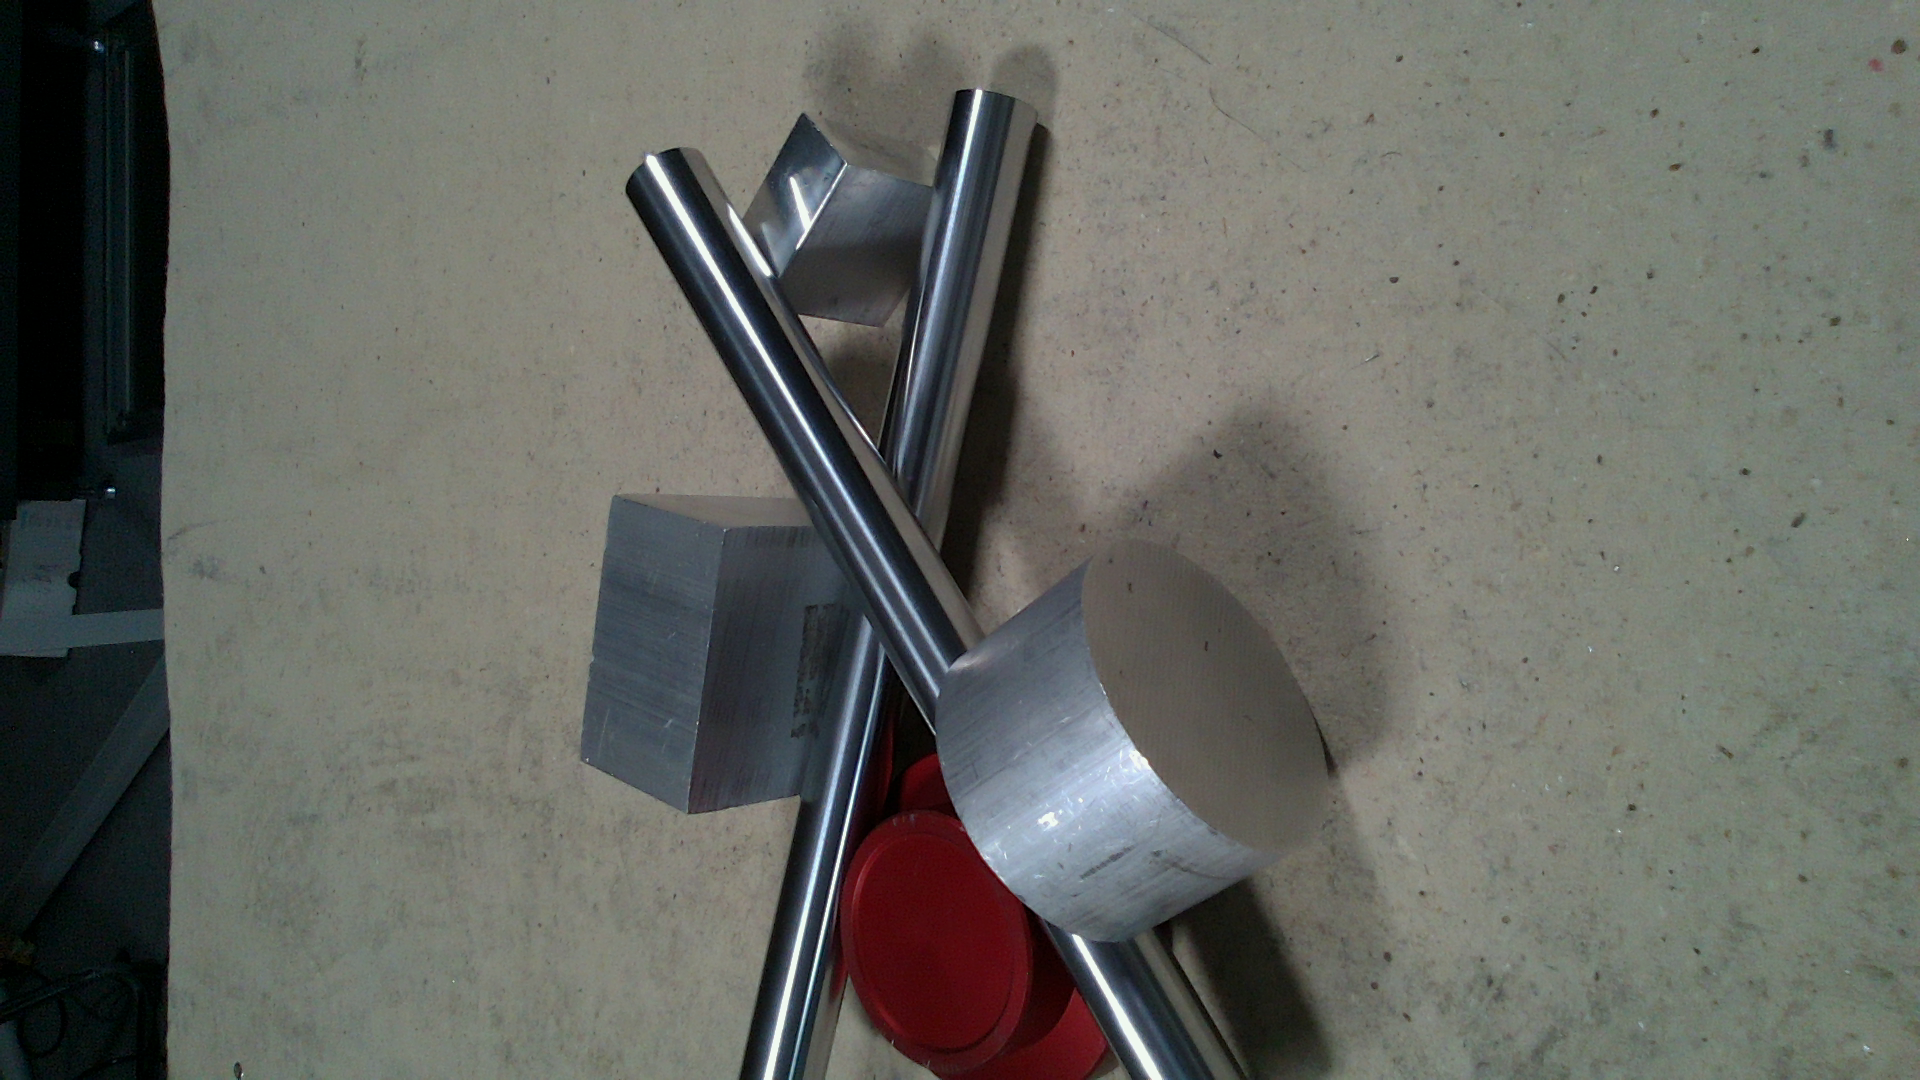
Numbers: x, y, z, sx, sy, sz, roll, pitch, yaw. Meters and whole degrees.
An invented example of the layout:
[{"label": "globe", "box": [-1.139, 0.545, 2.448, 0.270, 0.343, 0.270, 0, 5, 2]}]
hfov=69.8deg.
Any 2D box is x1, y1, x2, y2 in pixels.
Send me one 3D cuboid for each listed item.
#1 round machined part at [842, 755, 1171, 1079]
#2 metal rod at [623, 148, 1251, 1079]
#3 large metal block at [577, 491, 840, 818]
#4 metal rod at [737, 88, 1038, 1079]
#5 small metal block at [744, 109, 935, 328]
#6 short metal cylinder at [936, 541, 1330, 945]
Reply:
[{"label": "round machined part", "box": [0.006, 0.107, 0.380, 0.098, 0.042, 0.098, 0, 90, 40]}, {"label": "metal rod", "box": [-0.009, 0.022, 0.358, 0.025, 0.025, 0.300, -40, 75, 33]}, {"label": "large metal block", "box": [-0.061, 0.030, 0.411, 0.050, 0.080, 0.080, 15, 100, 39]}, {"label": "metal rod", "box": [-0.022, 0.023, 0.394, 0.025, 0.025, 0.300, 15, 93, 39]}, {"label": "small metal block", "box": [-0.034, -0.093, 0.407, 0.025, 0.050, 0.050, 52, 121, 27]}, {"label": "short metal cylinder", "box": [0.041, 0.047, 0.325, 0.050, 0.080, 0.080, -39, 66, 33]}]
